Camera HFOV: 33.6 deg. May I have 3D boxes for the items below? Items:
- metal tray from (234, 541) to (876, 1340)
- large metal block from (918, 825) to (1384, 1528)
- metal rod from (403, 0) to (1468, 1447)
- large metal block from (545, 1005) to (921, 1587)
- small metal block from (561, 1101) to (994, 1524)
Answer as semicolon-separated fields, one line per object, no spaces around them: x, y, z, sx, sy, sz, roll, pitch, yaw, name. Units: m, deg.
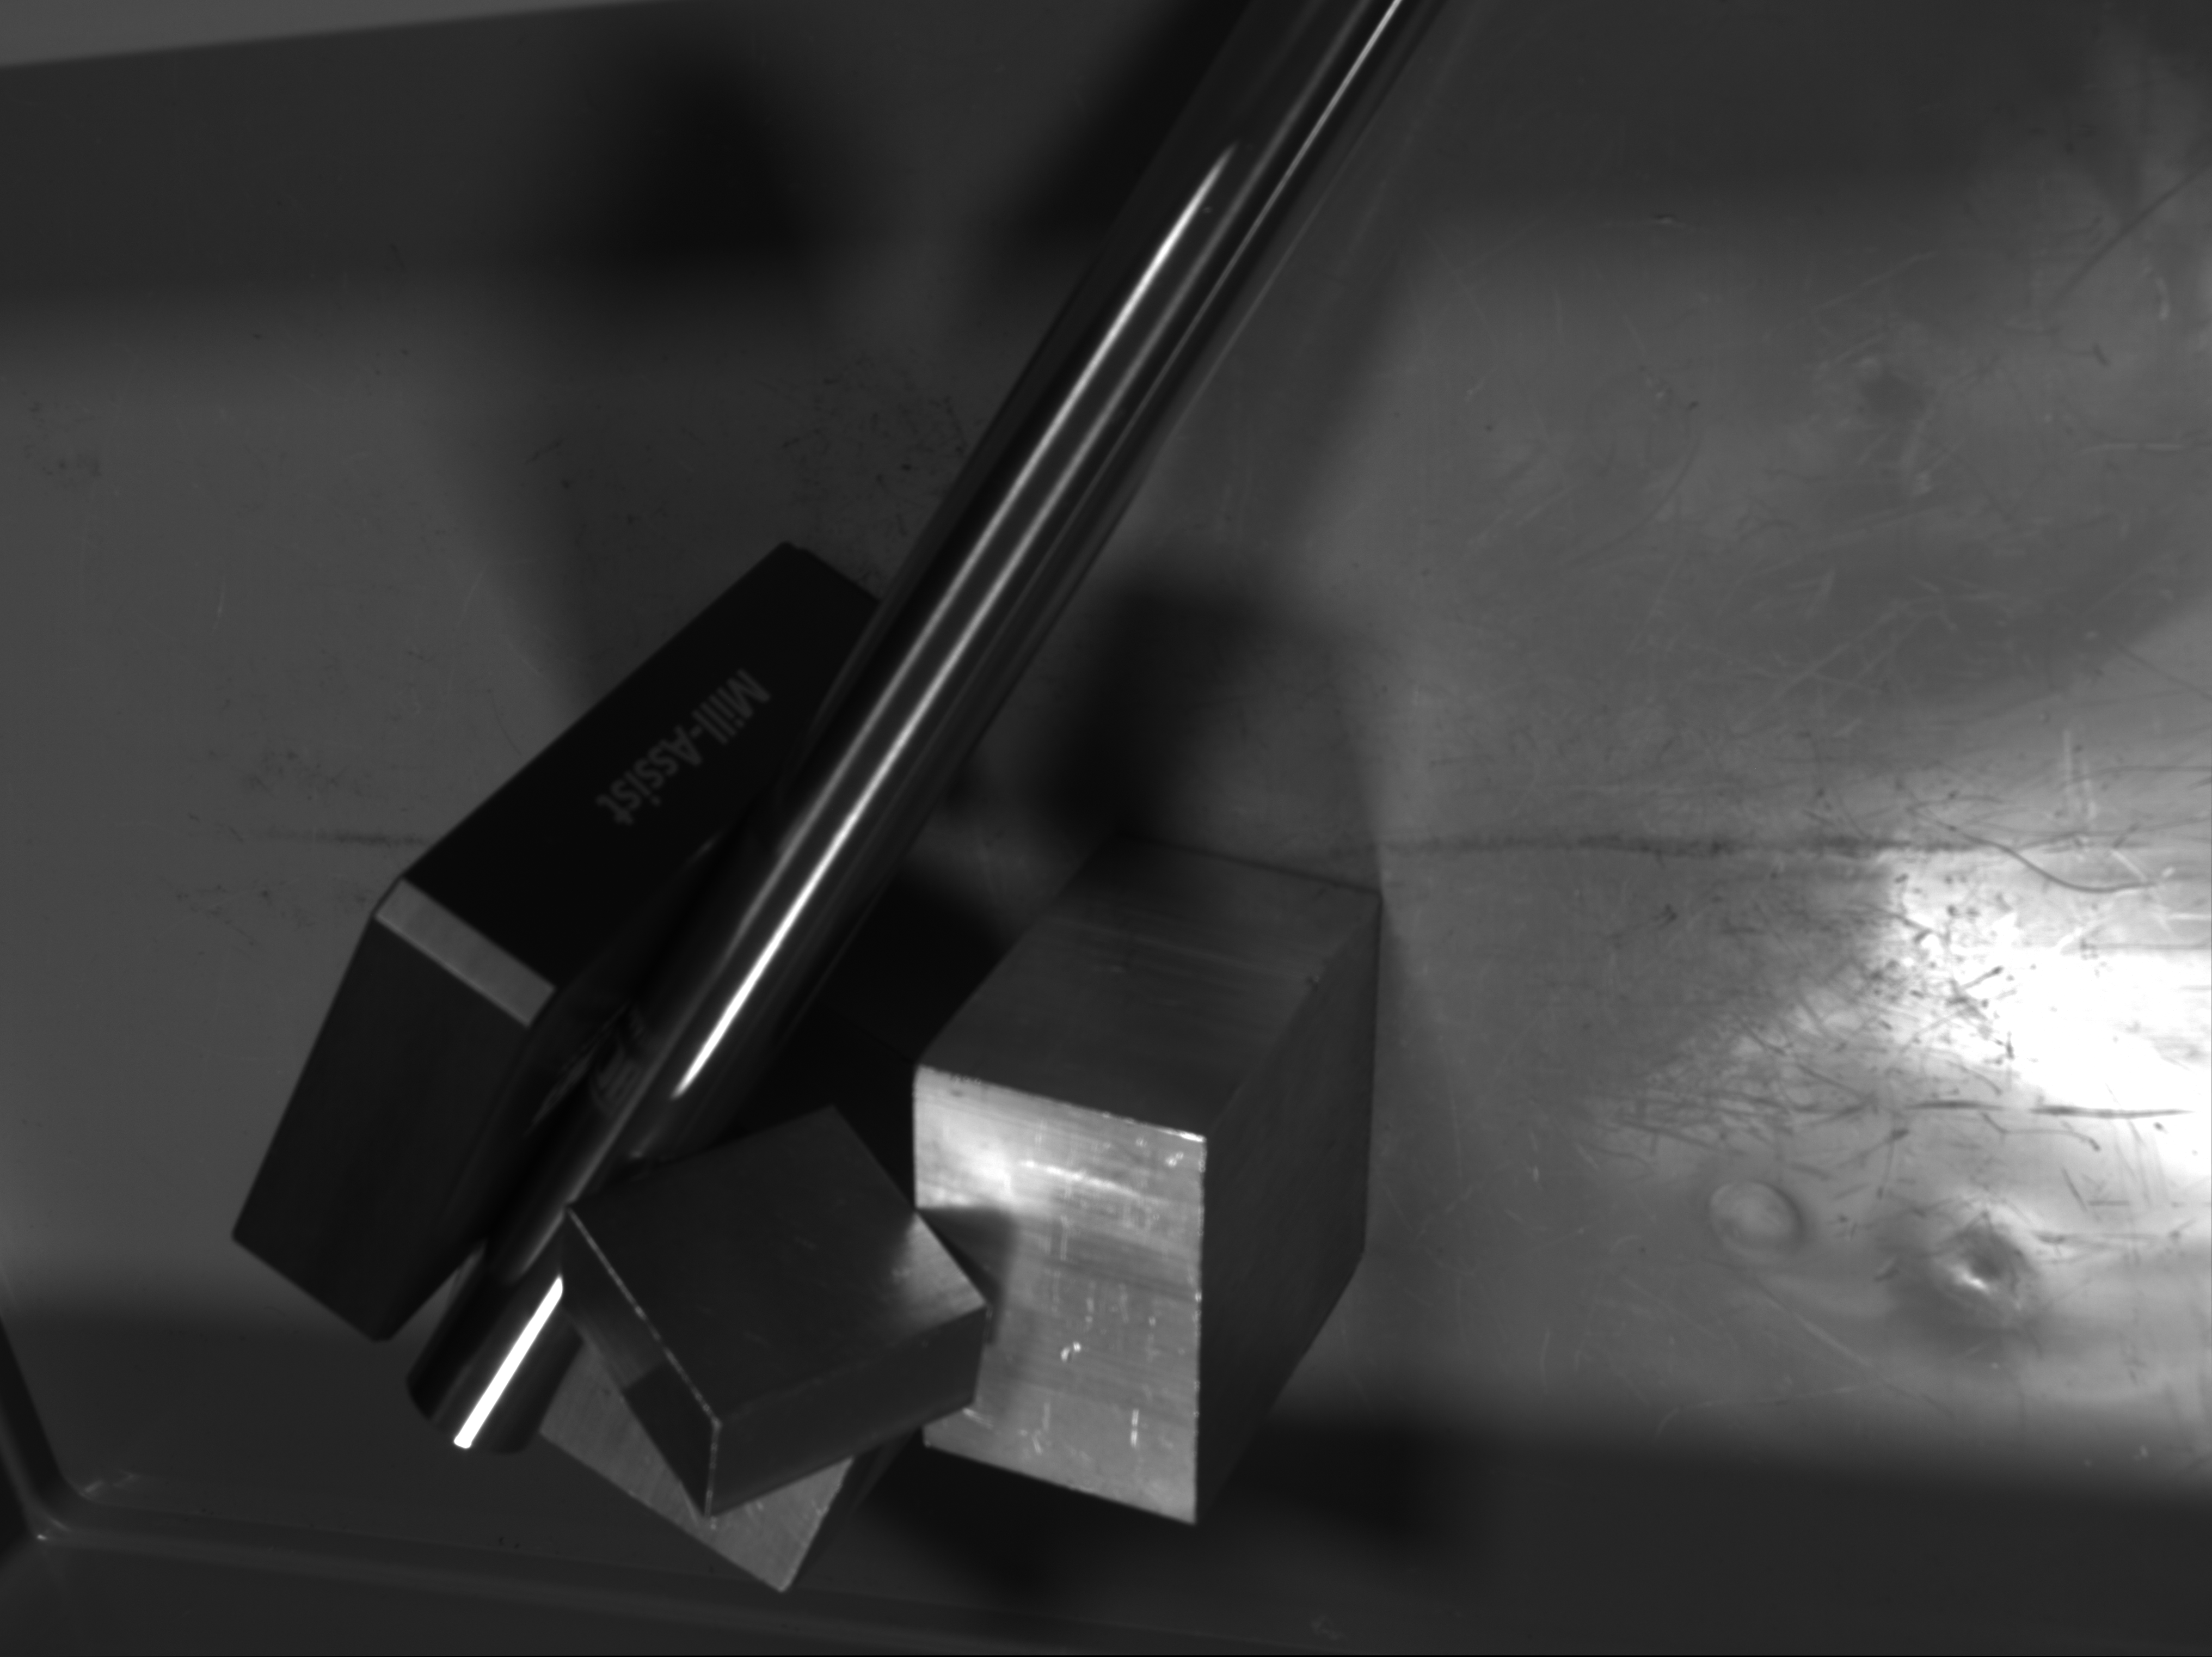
-0.086;0.017;0.616;0.030;0.130;0.090;35;129;5;metal tray
0.009;0.058;0.626;0.050;0.080;0.080;13;123;20;large metal block
-0.031;-0.019;0.577;0.025;0.025;0.300;35;111;4;metal rod
-0.064;0.078;0.676;0.080;0.080;0.050;32;128;6;large metal block
-0.054;0.077;0.593;0.050;0.050;0.025;49;145;34;small metal block
